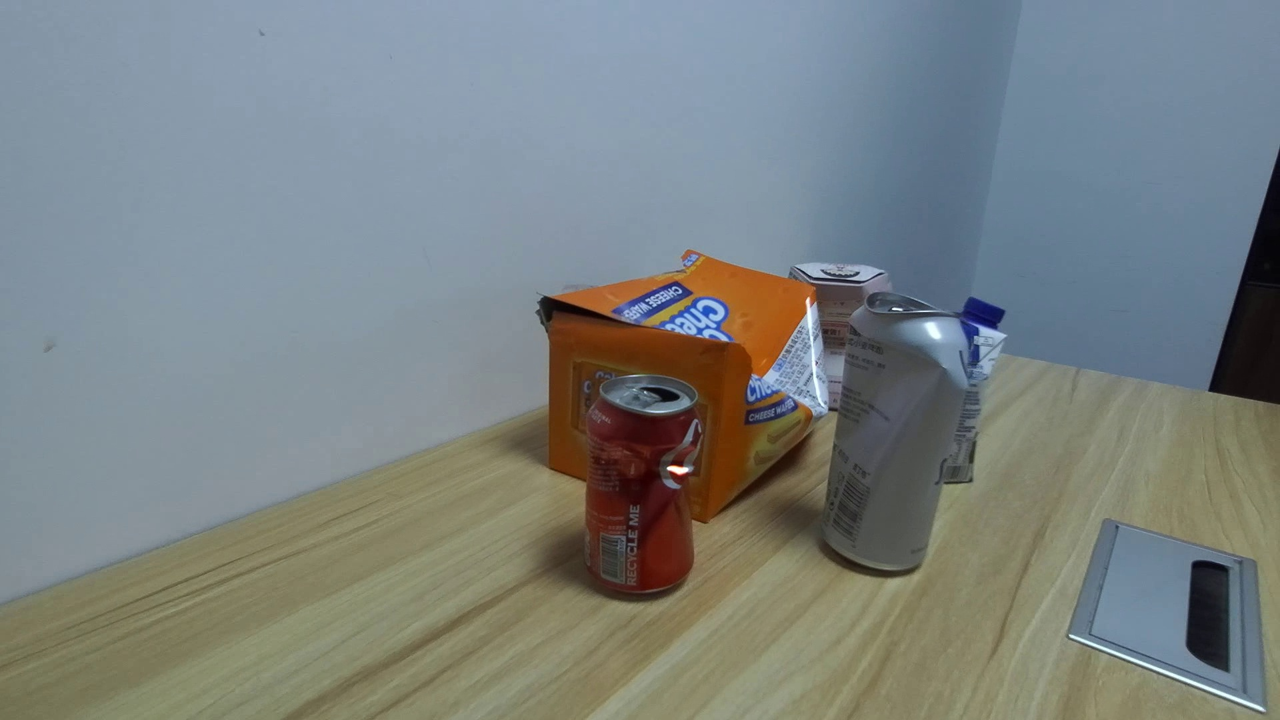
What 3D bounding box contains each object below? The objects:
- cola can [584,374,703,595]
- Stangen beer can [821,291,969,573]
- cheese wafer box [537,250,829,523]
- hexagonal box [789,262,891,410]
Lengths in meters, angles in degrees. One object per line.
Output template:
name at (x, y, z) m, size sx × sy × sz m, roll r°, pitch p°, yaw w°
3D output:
cola can at (0.001, 0.070, 0.403) m, size 0.066 × 0.117 × 0.066 m, roll 0°, pitch 18°, yaw -6°
Stangen beer can at (0.152, 0.045, 0.428) m, size 0.077 × 0.162 × 0.066 m, roll 12°, pitch 20°, yaw 28°
cheese wafer box at (0.057, 0.005, 0.568) m, size 0.190 × 0.145 × 0.220 m, roll 12°, pitch 20°, yaw 31°
hexagonal box at (0.188, -0.022, 0.684) m, size 0.090 × 0.134 × 0.090 m, roll -14°, pitch 25°, yaw -31°
